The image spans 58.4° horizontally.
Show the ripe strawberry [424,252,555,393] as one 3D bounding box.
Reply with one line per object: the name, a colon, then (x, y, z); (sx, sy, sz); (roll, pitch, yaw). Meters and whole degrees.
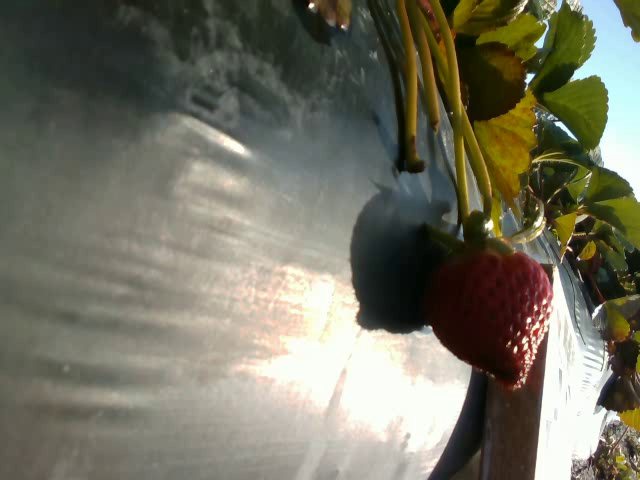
ripe strawberry: (0.048, 0.022, 0.156); (0.036, 0.044, 0.040); (-11, -4, 29)
